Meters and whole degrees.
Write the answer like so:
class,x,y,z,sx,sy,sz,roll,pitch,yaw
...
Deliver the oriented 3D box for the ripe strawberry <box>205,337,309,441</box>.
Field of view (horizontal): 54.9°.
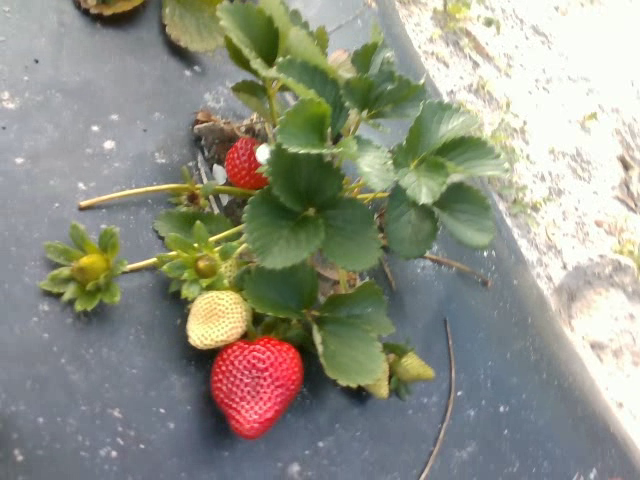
class,x,y,z,sx,sy,sz,roll,pitch,yaw
ripe strawberry,-0.036,0.076,0.300,0.051,0.048,0.055,-4,25,12
